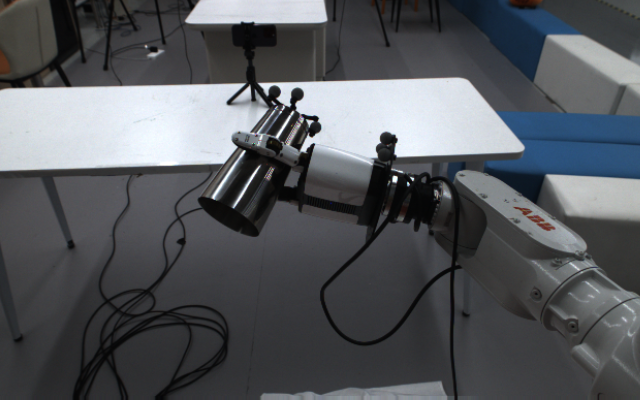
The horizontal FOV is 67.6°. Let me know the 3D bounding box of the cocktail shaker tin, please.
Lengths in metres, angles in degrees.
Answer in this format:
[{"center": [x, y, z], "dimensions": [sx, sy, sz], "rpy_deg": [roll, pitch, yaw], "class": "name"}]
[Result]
[{"center": [-0.079, -0.049, 0.659], "dimensions": [0.093, 0.093, 0.170], "rpy_deg": [18, 66, 21], "class": "cocktail shaker tin"}]
